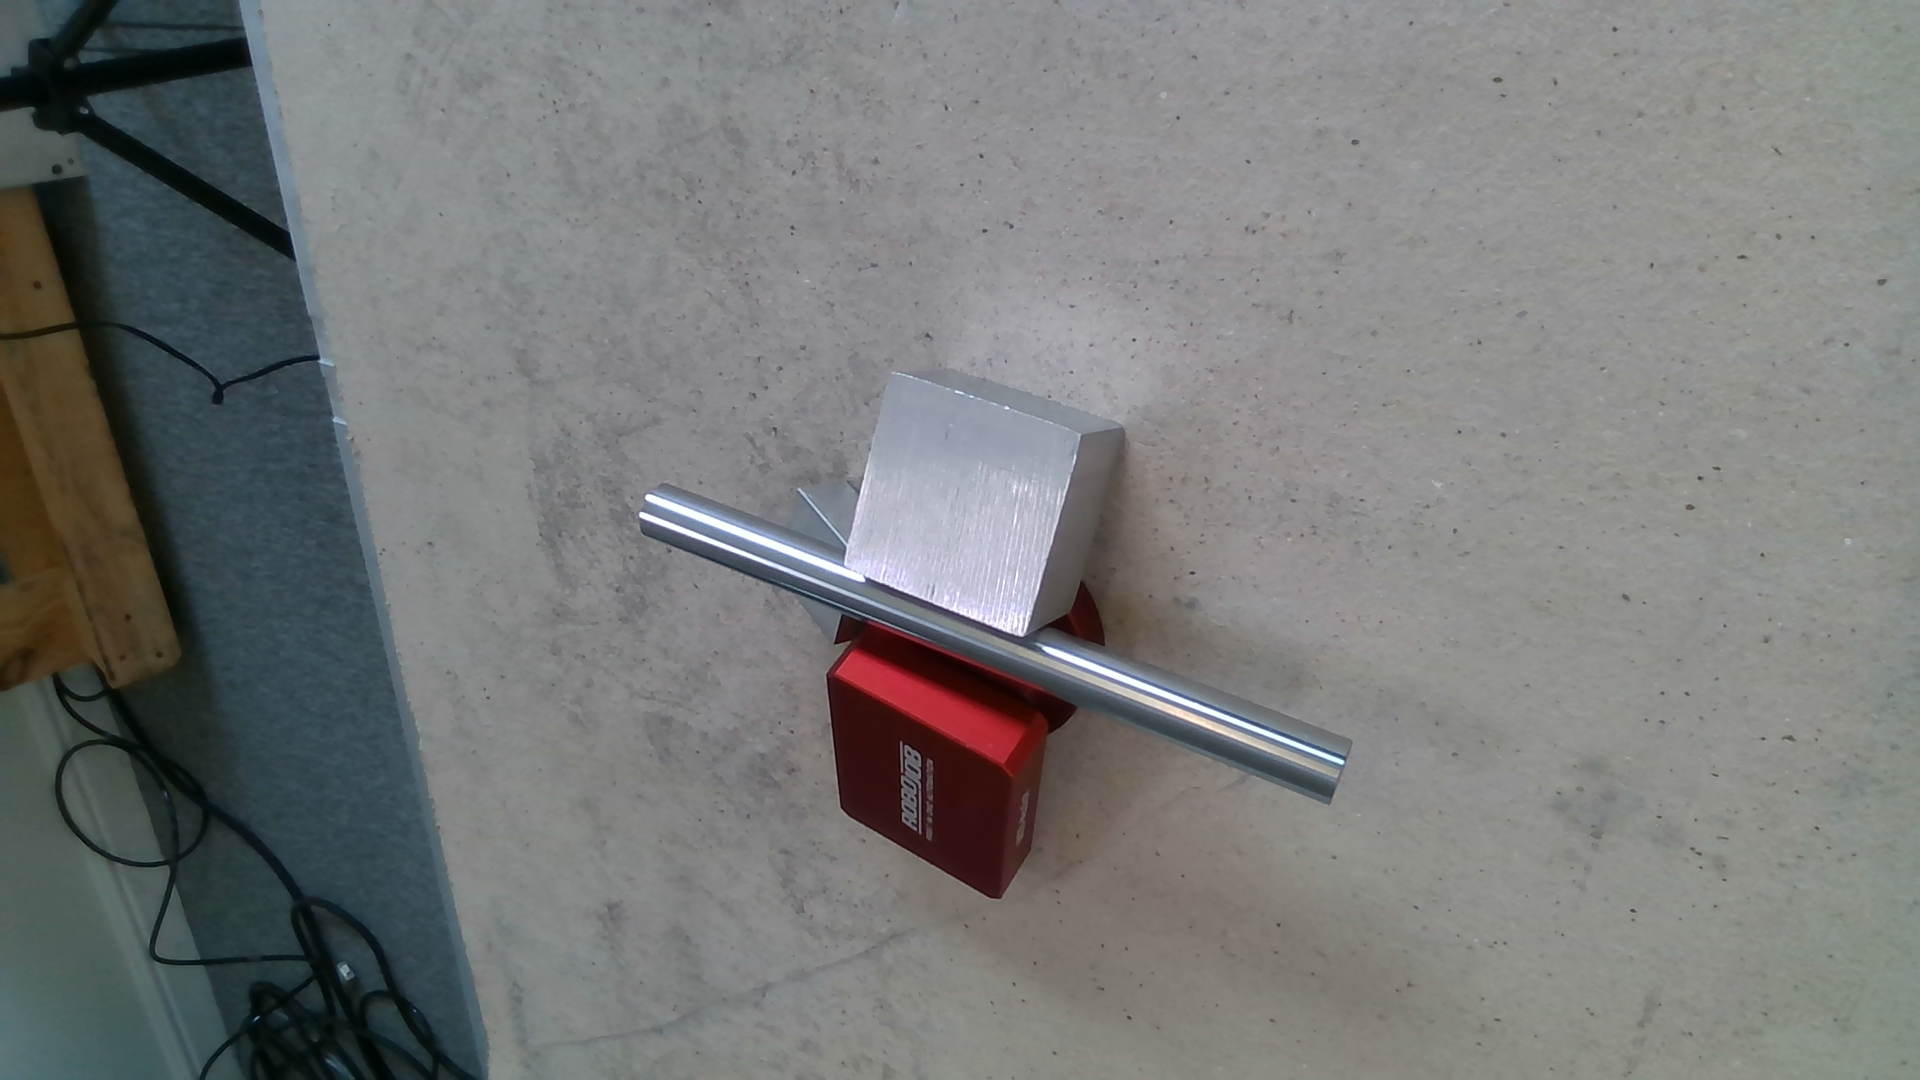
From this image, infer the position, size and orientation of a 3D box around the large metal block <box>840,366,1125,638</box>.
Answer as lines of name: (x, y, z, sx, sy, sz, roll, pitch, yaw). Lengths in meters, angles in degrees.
large metal block: (0.008, -0.018, 0.535, 0.080, 0.050, 0.080, 21, 106, 21)

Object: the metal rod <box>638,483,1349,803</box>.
metal rod: (0.003, 0.035, 0.544, 0.300, 0.025, 0.025, 20, 124, 19)

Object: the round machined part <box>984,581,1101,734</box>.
round machined part: (0.008, 0.045, 0.589, 0.098, 0.042, 0.098, 14, 122, 25)

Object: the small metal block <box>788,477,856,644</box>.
small metal block: (-0.054, 0.009, 0.606, 0.050, 0.025, 0.050, 46, 134, 36)

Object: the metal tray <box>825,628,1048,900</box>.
metal tray: (-0.011, 0.101, 0.611, 0.090, 0.030, 0.130, 27, 146, 18)
